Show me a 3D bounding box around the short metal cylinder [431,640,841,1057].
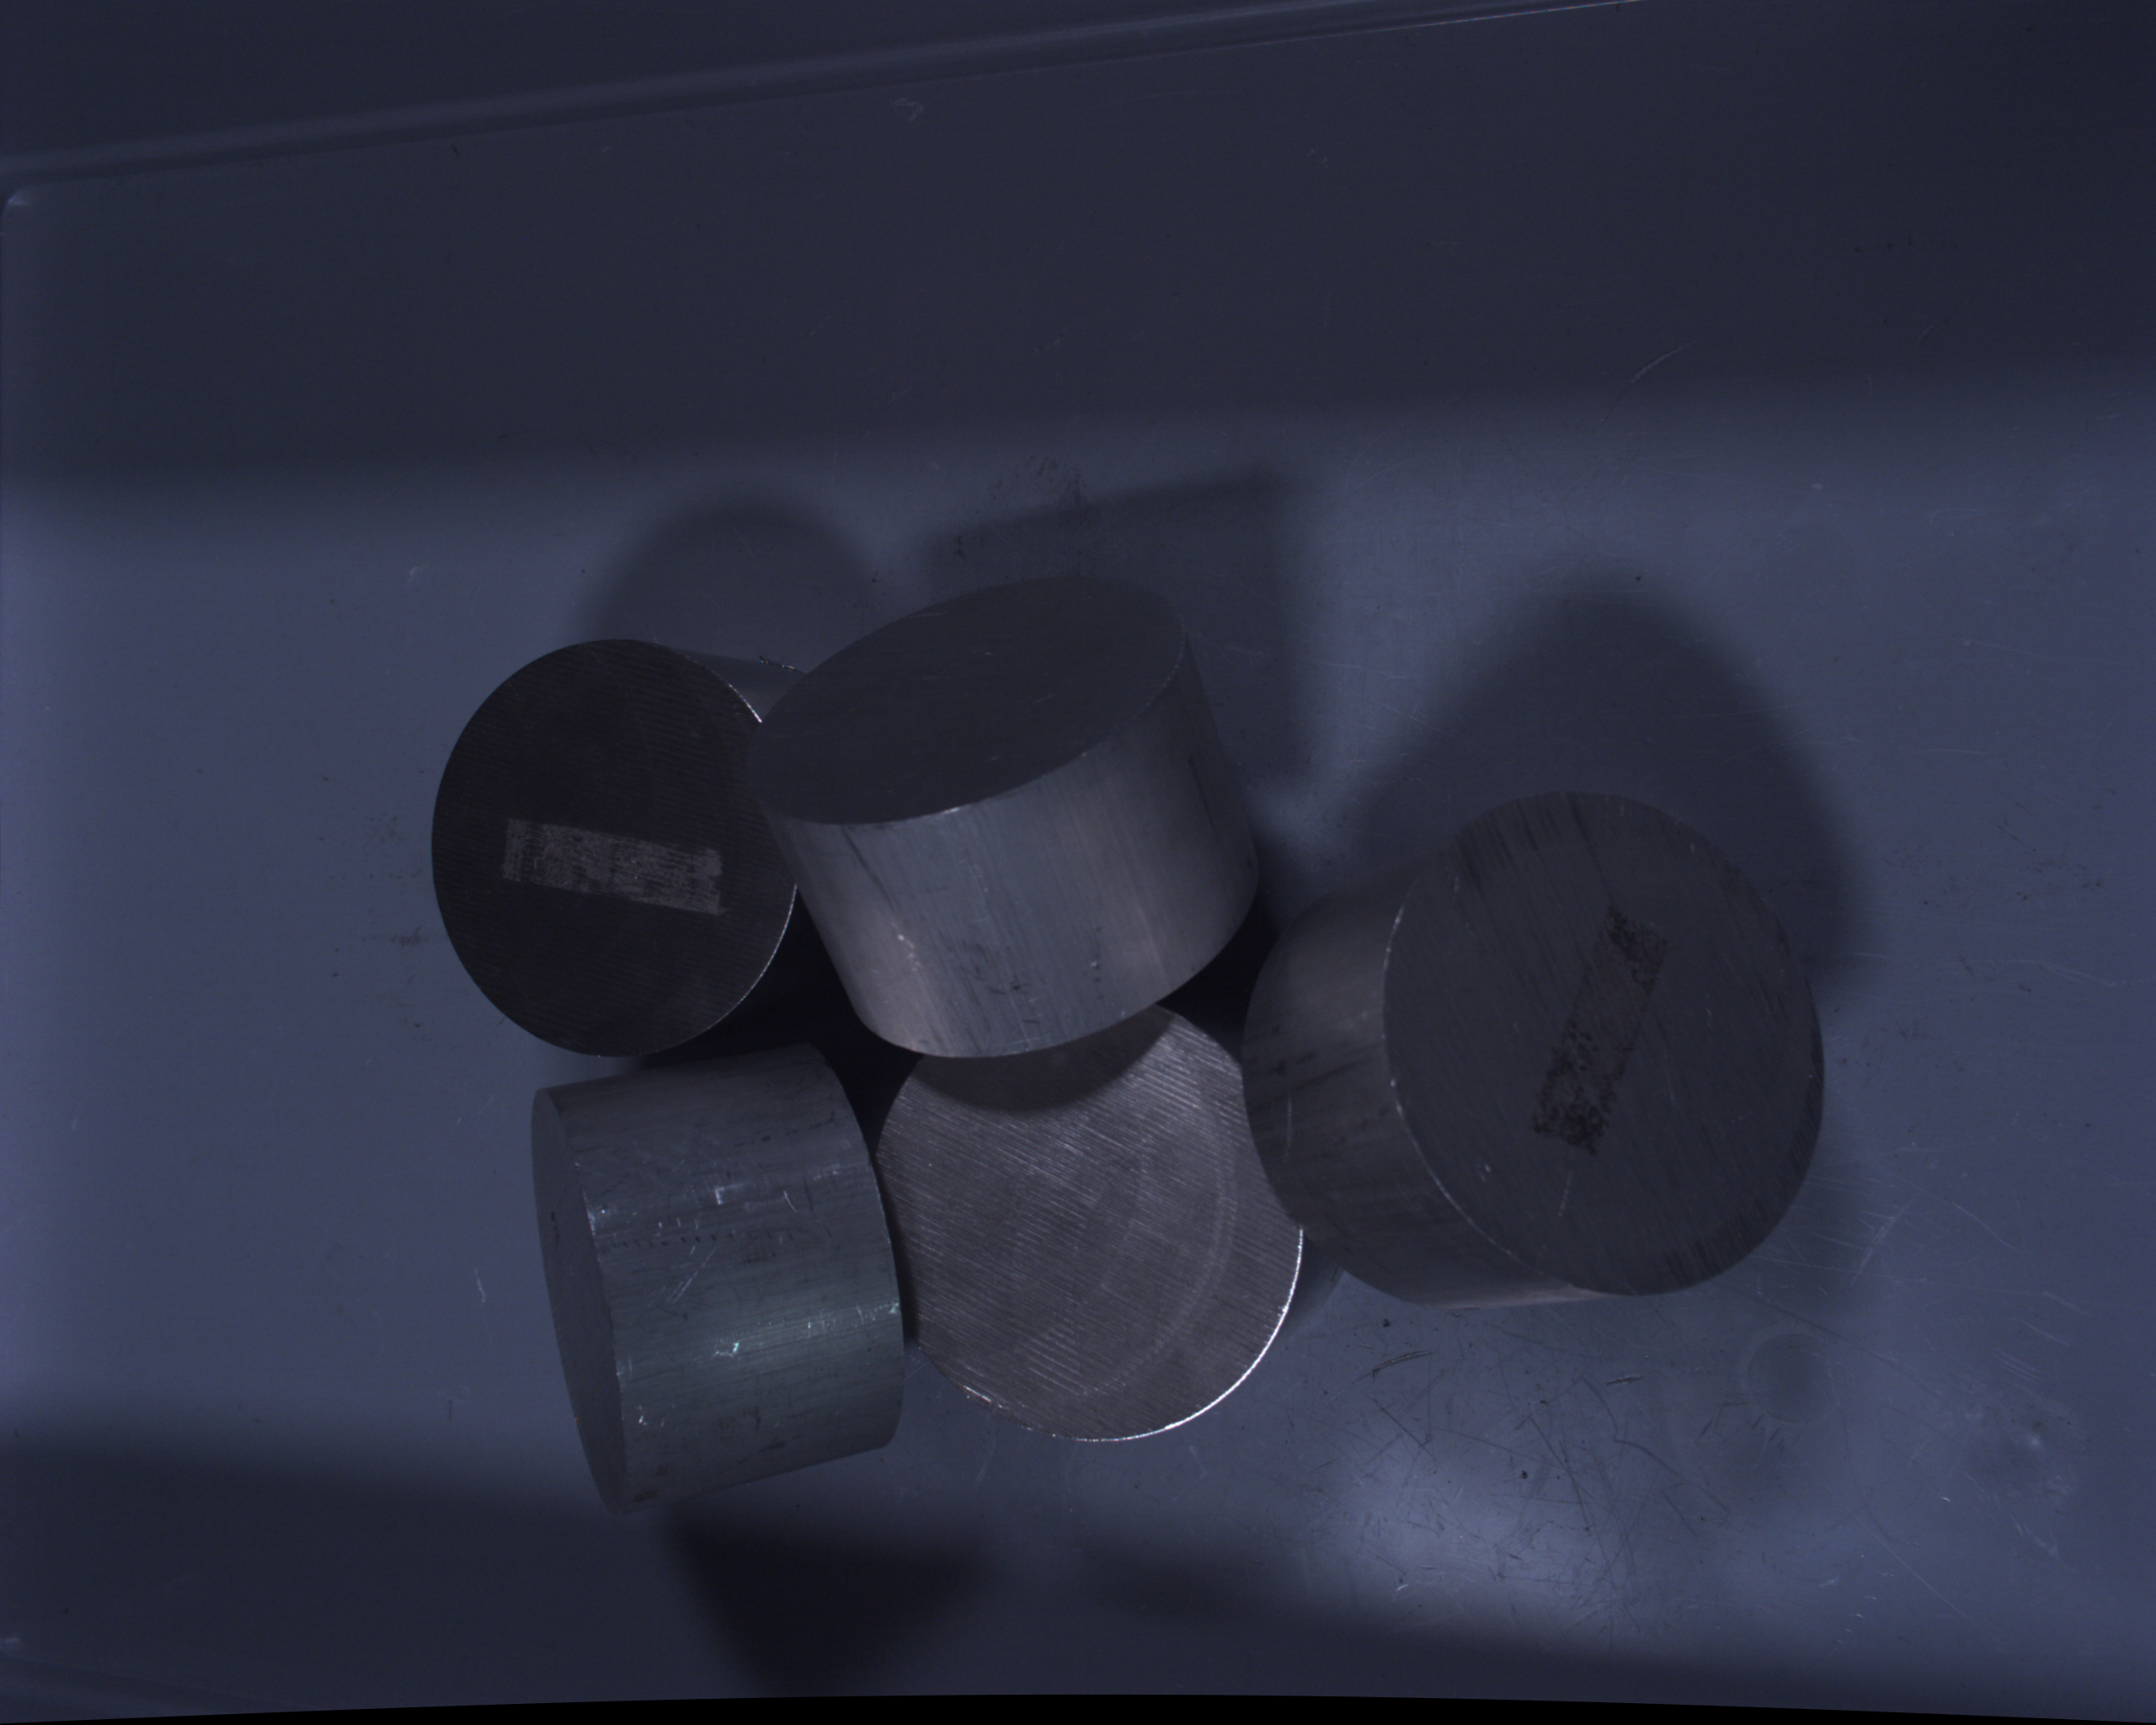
[{"bbox_3d":[-0.081,-0.003,0.422,0.080,0.050,0.079,0,90,19],"label":"short metal cylinder"}]

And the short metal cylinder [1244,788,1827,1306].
[{"bbox_3d":[0.075,0.033,0.347,0.081,0.050,0.080,5,74,-19],"label":"short metal cylinder"}]

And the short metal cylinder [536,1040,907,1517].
[{"bbox_3d":[-0.070,0.077,0.396,0.050,0.080,0.080,-9,86,-23],"label":"short metal cylinder"}]

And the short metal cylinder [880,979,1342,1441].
[{"bbox_3d":[0.009,0.062,0.392,0.080,0.050,0.079,0,90,19],"label":"short metal cylinder"}]

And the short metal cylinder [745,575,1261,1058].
[{"bbox_3d":[-0.013,-0.010,0.375,0.080,0.080,0.050,-8,123,19],"label":"short metal cylinder"}]
